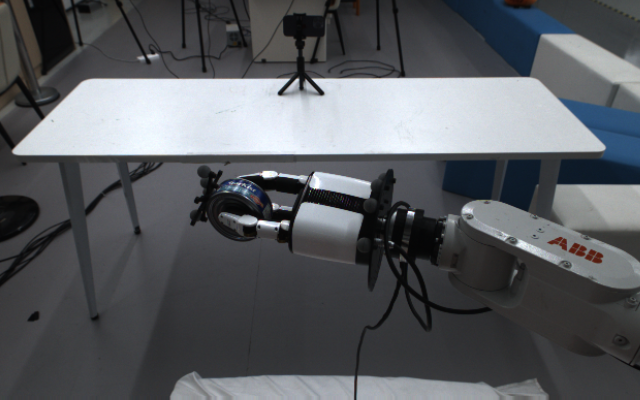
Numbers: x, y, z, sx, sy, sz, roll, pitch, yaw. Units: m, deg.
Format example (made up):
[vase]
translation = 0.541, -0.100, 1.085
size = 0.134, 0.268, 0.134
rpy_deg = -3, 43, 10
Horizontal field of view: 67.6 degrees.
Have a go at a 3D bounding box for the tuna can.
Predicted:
[tuna can]
translation = -0.106, 0.018, 0.656
size = 0.085, 0.085, 0.034
rpy_deg = 8, 37, 9
